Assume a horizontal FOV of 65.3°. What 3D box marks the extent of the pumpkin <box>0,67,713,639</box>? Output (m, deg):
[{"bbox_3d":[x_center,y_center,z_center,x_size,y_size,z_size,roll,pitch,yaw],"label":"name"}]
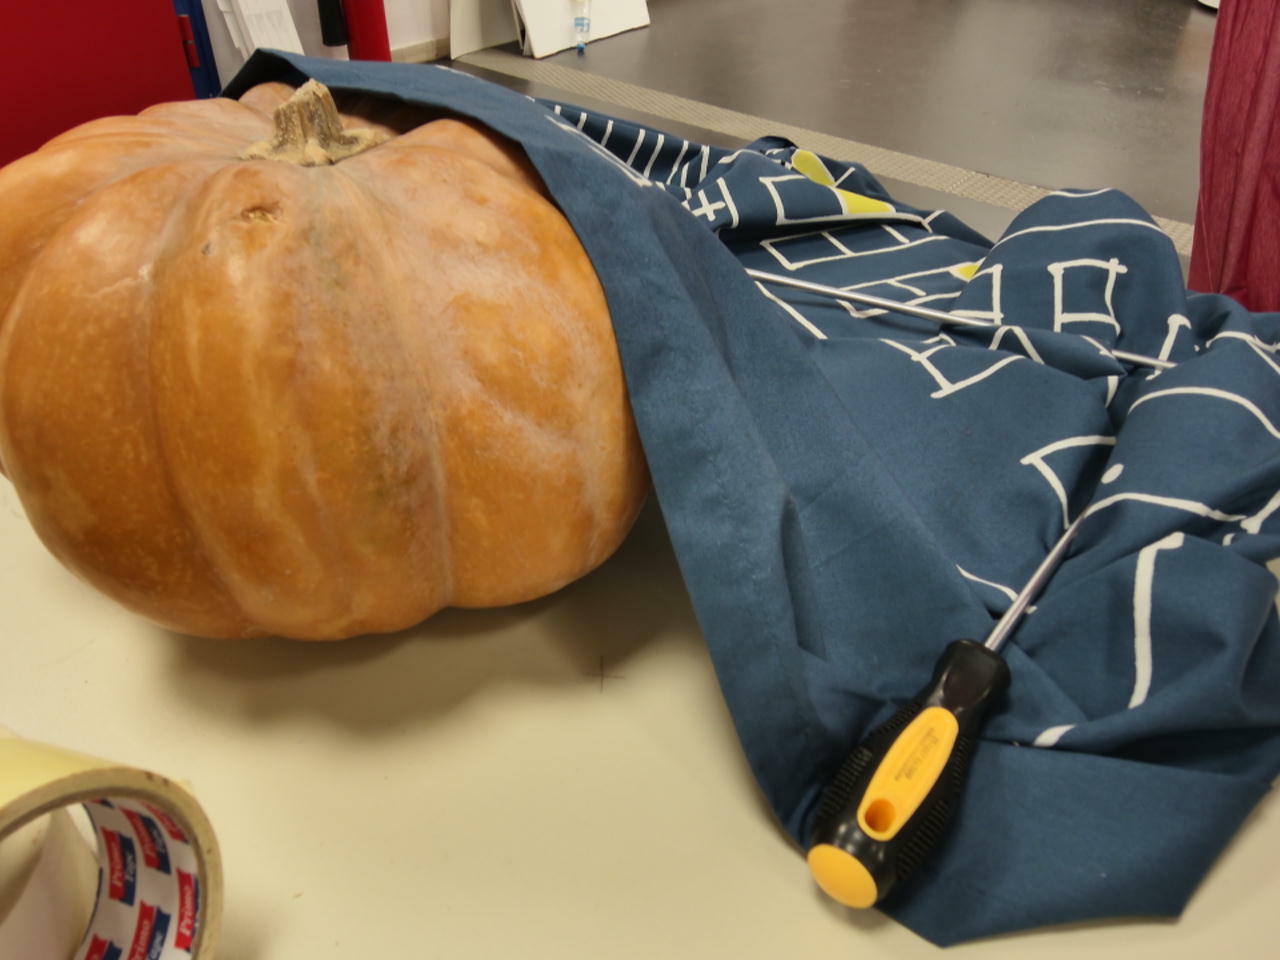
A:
[{"bbox_3d":[-0.110,-0.054,0.382,0.277,0.181,0.277,0,36,0],"label":"pumpkin"}]
